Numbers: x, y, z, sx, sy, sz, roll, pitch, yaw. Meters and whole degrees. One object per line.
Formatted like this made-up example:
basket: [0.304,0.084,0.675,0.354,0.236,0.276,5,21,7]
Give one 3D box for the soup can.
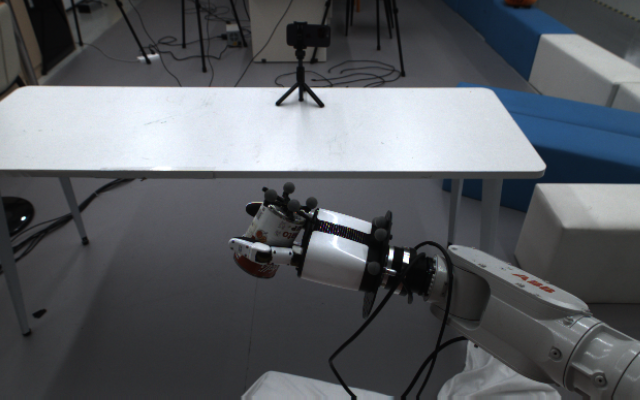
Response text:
soup can: [-0.071,0.053,0.691,0.067,0.101,0.067,28,18,-10]
